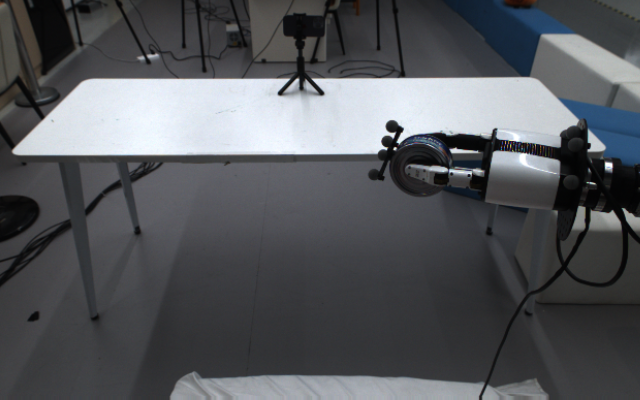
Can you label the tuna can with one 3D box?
[{"bbox_3d":[0.145,-0.049,0.688,0.085,0.085,0.034,12,29,14],"label":"tuna can"}]
